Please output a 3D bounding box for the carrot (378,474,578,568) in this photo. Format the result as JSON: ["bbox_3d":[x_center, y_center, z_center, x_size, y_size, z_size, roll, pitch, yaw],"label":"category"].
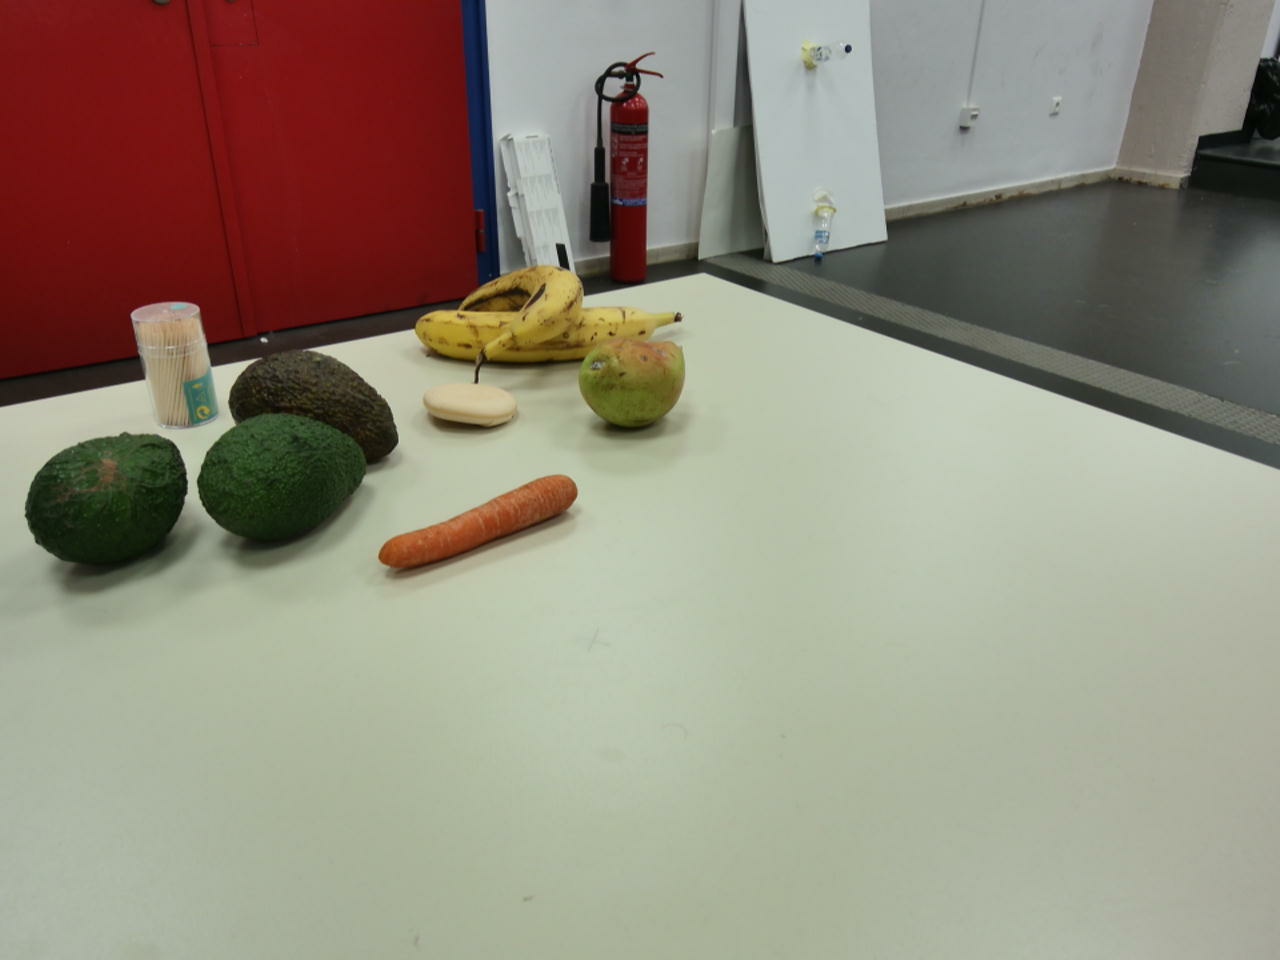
[{"bbox_3d":[-0.084,0.022,0.536,0.122,0.023,0.024,-19,32,-36],"label":"carrot"}]
